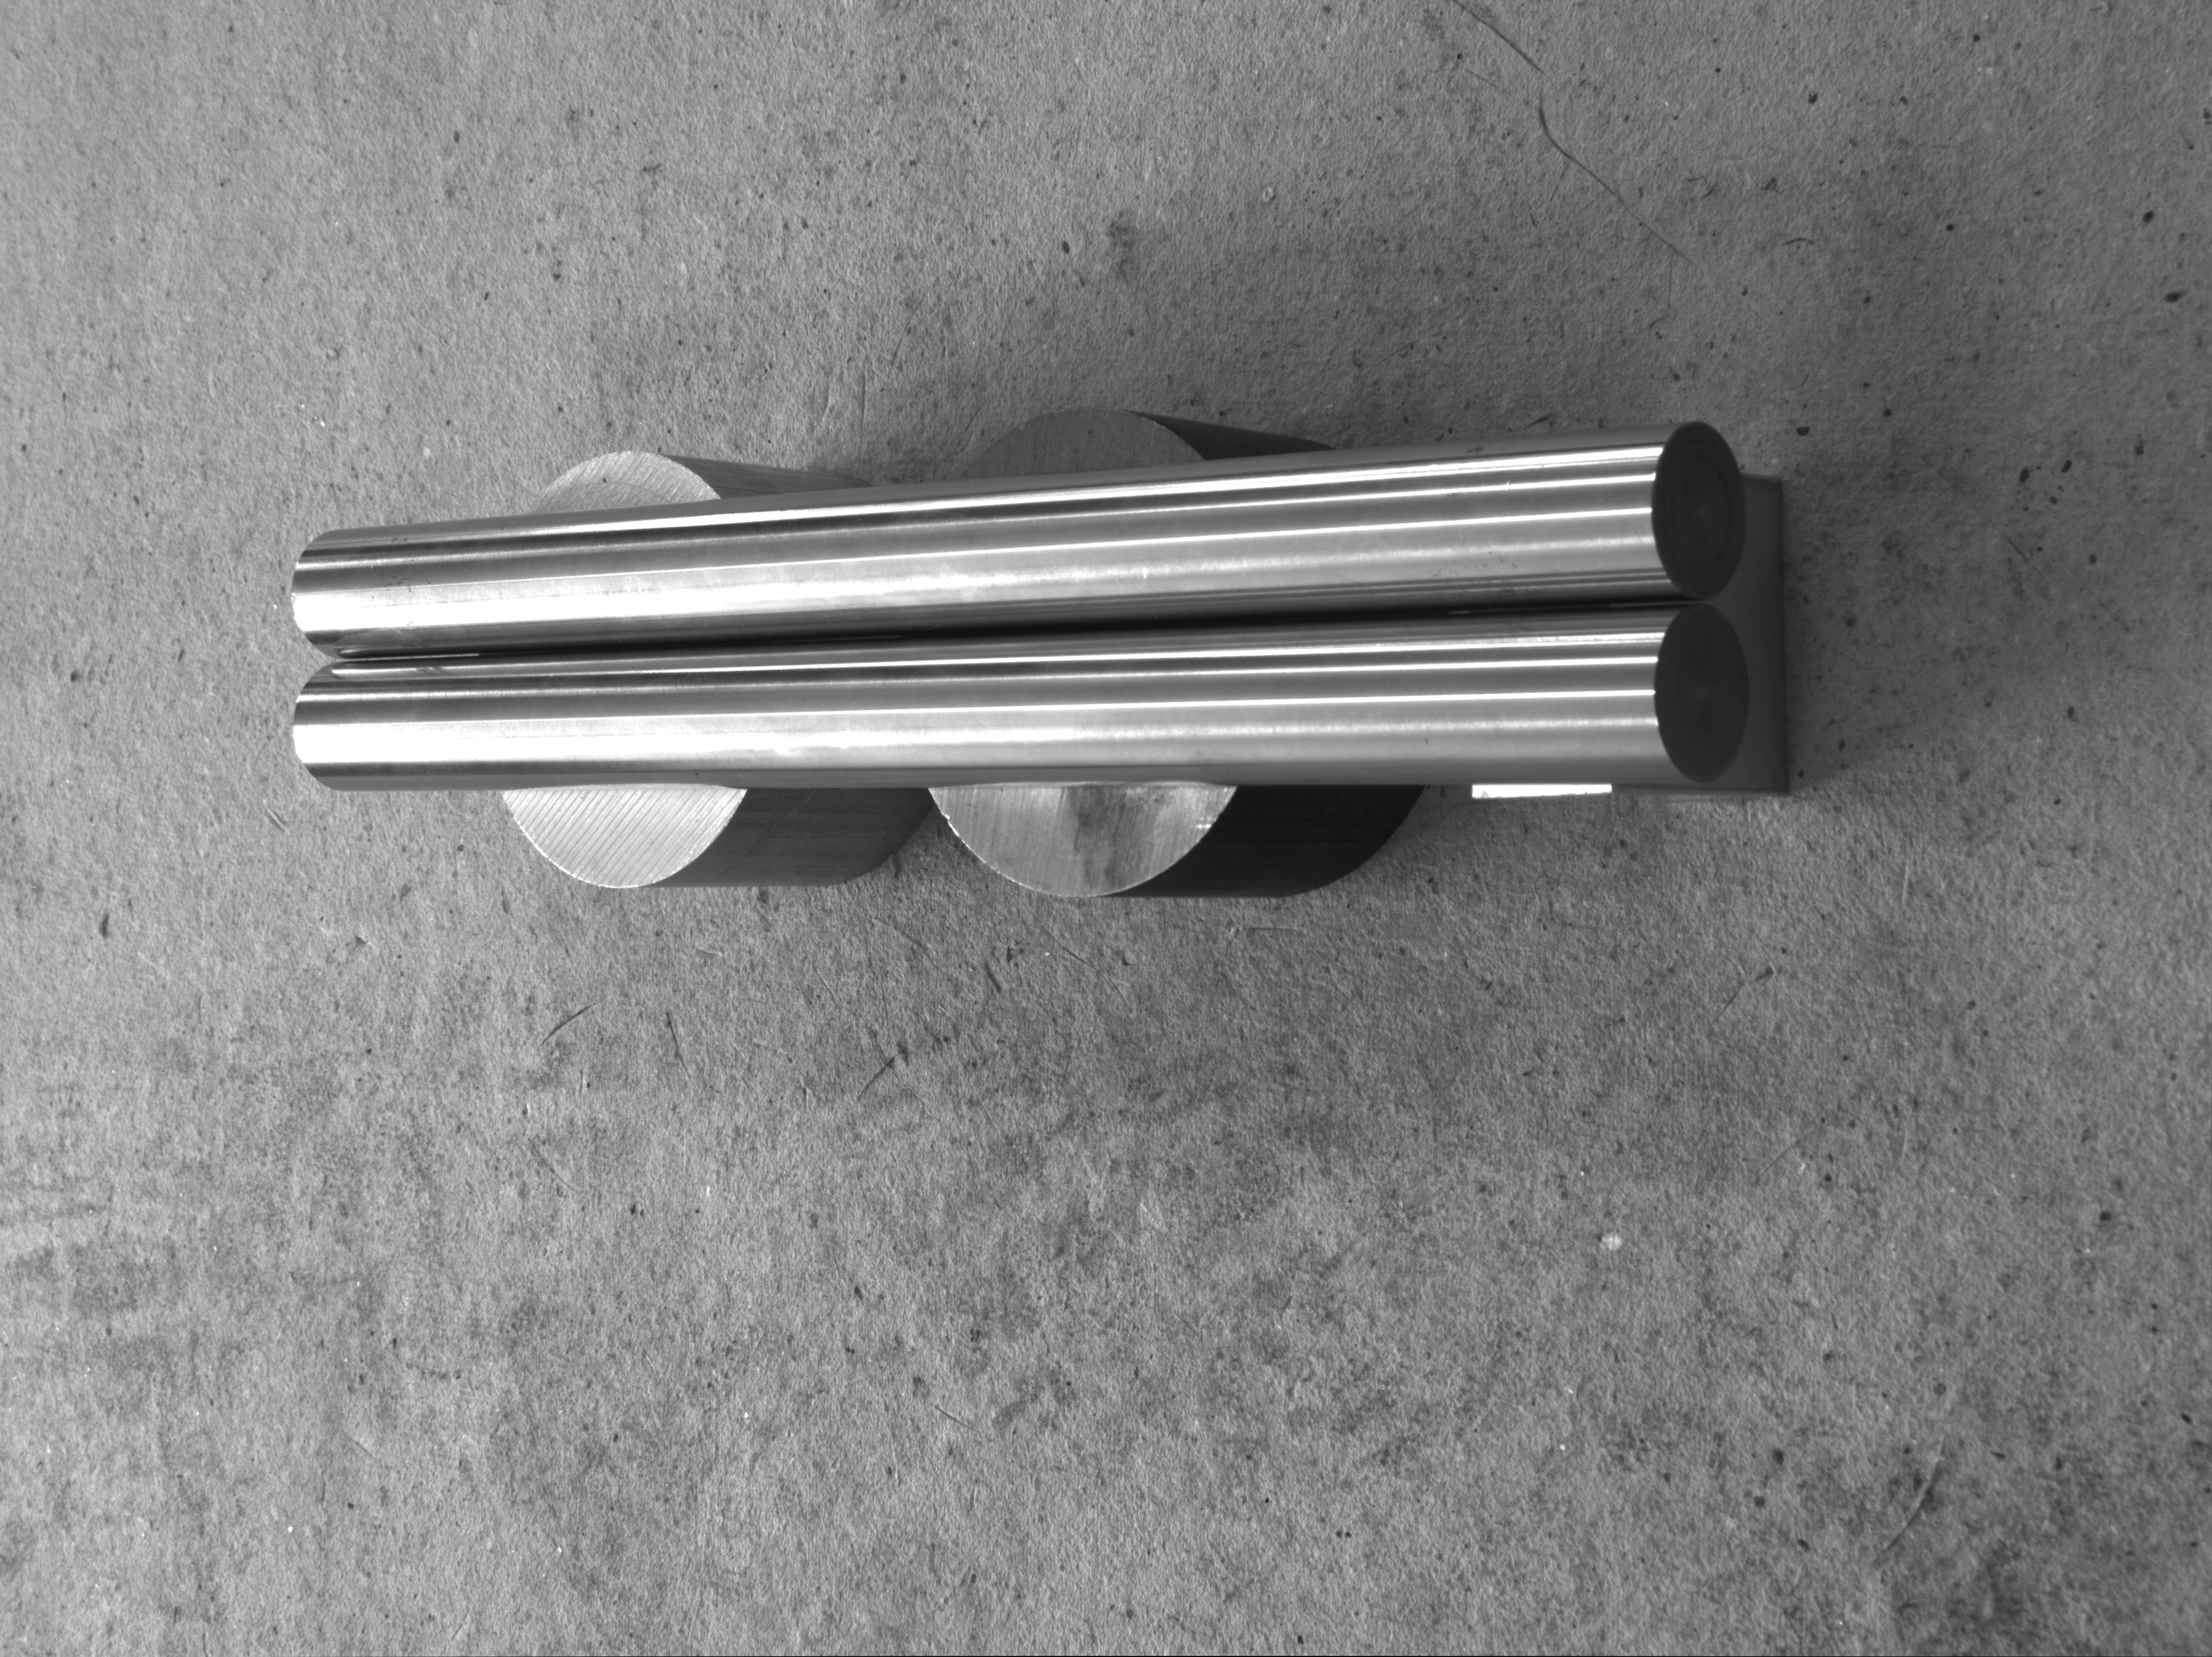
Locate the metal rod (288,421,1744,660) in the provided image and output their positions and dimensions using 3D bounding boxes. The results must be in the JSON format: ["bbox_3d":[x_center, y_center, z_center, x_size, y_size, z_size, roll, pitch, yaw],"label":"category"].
[{"bbox_3d":[-0.032,-0.044,0.607,0.299,0.025,0.025,0,90,40],"label":"metal rod"}]

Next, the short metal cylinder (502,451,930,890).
[{"bbox_3d":[-0.073,-0.029,0.690,0.080,0.050,0.080,0,90,40],"label":"short metal cylinder"}]

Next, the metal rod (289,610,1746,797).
[{"bbox_3d":[-0.032,-0.018,0.606,0.299,0.025,0.025,0,90,40],"label":"metal rod"}]

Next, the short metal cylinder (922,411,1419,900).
[{"bbox_3d":[0.011,-0.028,0.620,0.080,0.050,0.080,0,90,40],"label":"short metal cylinder"}]

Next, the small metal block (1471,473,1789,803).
[{"bbox_3d":[0.081,-0.030,0.563,0.025,0.050,0.050,-2,88,40],"label":"small metal block"}]
